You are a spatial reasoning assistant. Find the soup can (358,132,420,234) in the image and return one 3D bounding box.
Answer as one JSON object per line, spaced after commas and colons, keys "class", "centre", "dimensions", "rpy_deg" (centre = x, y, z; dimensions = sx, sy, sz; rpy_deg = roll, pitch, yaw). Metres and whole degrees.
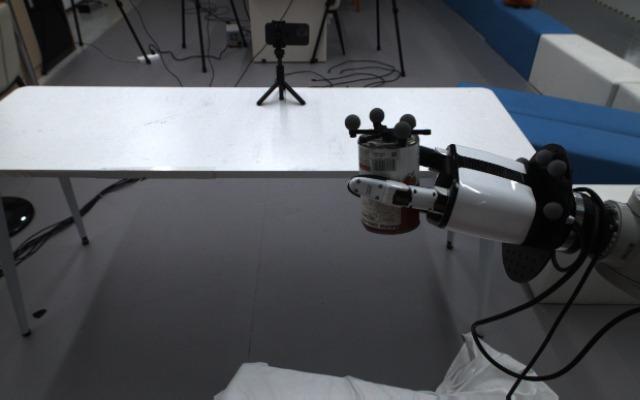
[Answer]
{"class": "soup can", "centre": [0.080, -0.022, 0.542], "dimensions": [0.067, 0.101, 0.067], "rpy_deg": [-4, 21, 1]}
